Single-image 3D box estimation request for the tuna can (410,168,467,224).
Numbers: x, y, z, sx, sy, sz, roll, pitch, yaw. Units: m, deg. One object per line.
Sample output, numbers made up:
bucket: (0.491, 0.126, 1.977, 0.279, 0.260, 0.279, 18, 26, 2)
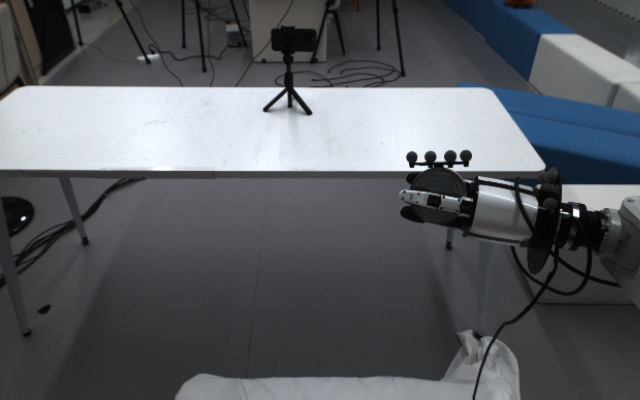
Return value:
tuna can: (0.181, -0.009, 0.740, 0.085, 0.085, 0.034, 15, 10, 18)
